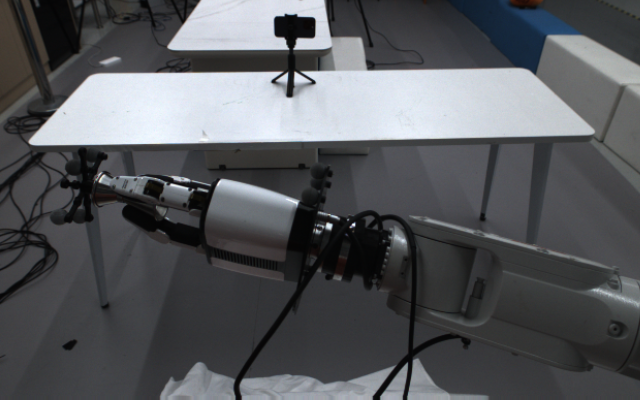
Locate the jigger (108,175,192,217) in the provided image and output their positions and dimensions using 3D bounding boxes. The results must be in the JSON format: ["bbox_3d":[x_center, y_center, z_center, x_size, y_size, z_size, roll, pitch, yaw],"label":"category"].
[{"bbox_3d":[-0.192,-0.007,0.514,0.071,0.043,0.043,11,35,1],"label":"jigger"}]
